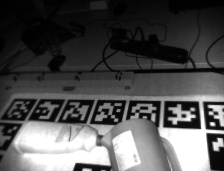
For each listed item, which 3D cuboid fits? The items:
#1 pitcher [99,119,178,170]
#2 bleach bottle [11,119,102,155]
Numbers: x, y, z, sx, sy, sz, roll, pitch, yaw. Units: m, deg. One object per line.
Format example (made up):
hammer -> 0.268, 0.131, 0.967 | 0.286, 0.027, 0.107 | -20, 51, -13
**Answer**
pitcher -> 0.076, 0.205, 0.473 | 0.191, 0.133, 0.240 | 6, 42, -28
bleach bottle -> -0.154, 0.146, 0.617 | 0.249, 0.068, 0.102 | -2, 50, 10
